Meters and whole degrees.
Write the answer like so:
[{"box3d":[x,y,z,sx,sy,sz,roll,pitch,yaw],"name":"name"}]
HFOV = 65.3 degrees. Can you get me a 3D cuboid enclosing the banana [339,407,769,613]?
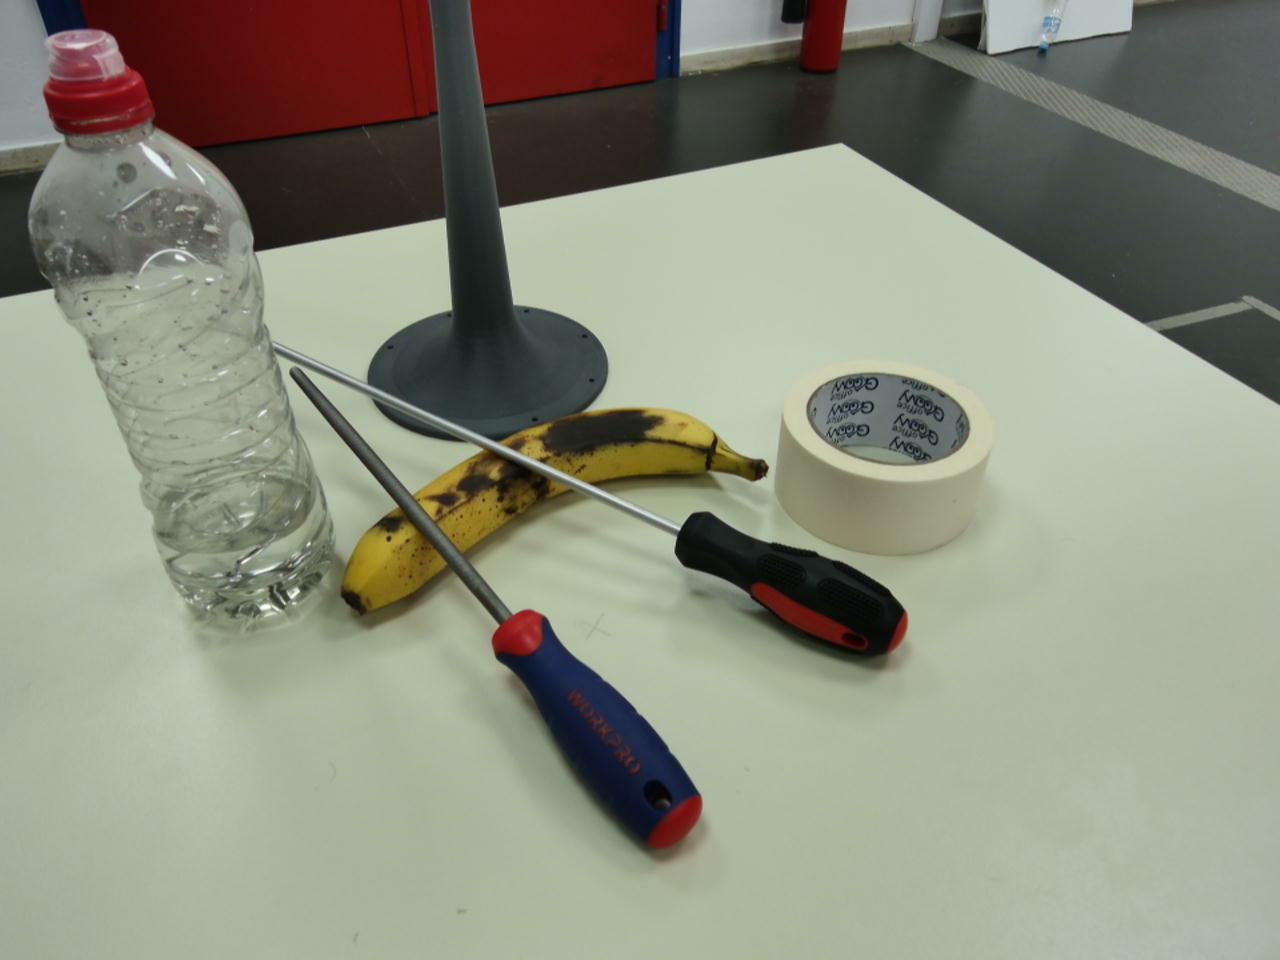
[{"box3d":[-0.049,0.003,0.510,0.222,0.037,0.084,-16,41,-20],"name":"banana"}]
